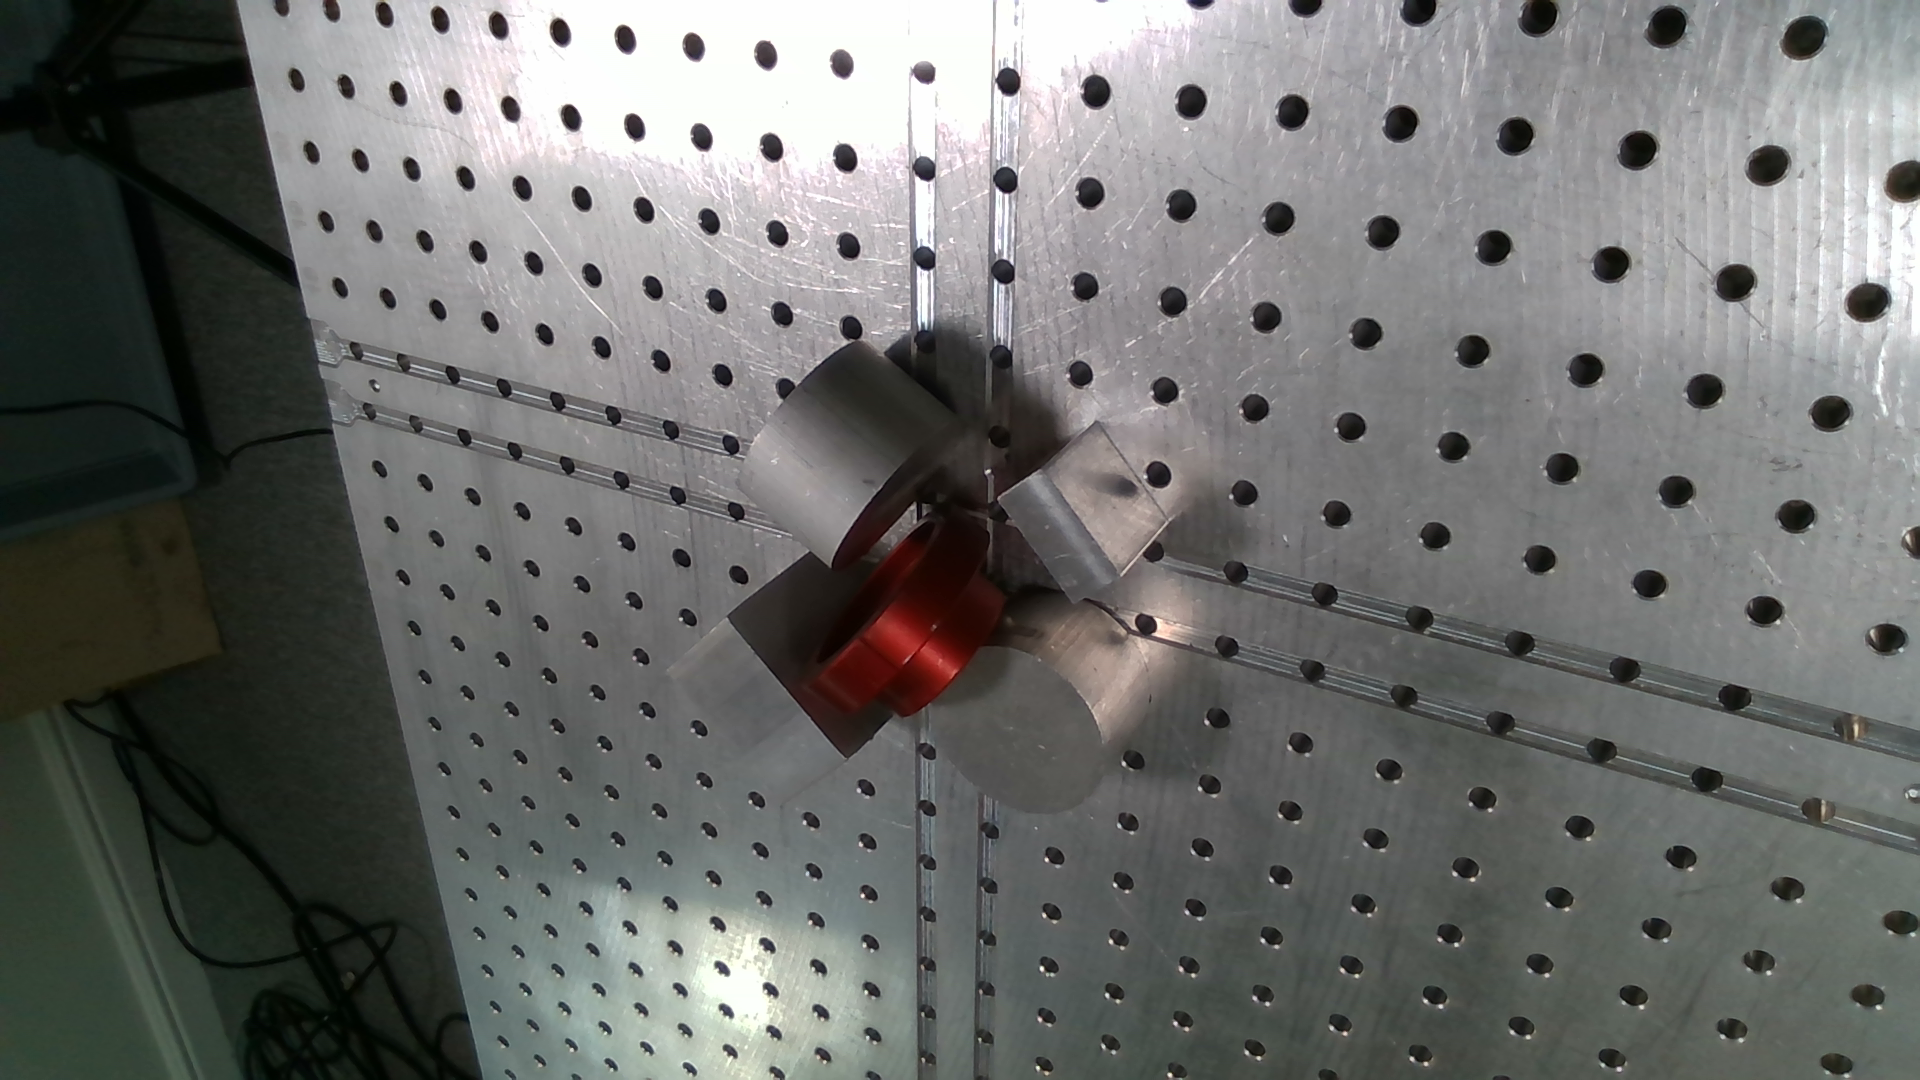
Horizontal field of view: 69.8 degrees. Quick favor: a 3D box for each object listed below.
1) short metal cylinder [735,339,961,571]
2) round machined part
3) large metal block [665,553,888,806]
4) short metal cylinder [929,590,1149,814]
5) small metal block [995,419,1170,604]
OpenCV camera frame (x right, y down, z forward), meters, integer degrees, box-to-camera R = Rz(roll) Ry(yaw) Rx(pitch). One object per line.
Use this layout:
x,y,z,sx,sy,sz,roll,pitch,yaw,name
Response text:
-0.044,-0.034,0.555,0.050,0.080,0.080,40,129,7,short metal cylinder
-0.020,0.034,0.567,0.042,0.098,0.098,40,130,-9,round machined part
-0.071,0.058,0.623,0.080,0.080,0.050,50,129,-1,large metal block
0.034,0.068,0.583,0.080,0.050,0.080,14,122,25,short metal cylinder
0.048,-0.012,0.531,0.025,0.050,0.050,-33,95,39,small metal block
